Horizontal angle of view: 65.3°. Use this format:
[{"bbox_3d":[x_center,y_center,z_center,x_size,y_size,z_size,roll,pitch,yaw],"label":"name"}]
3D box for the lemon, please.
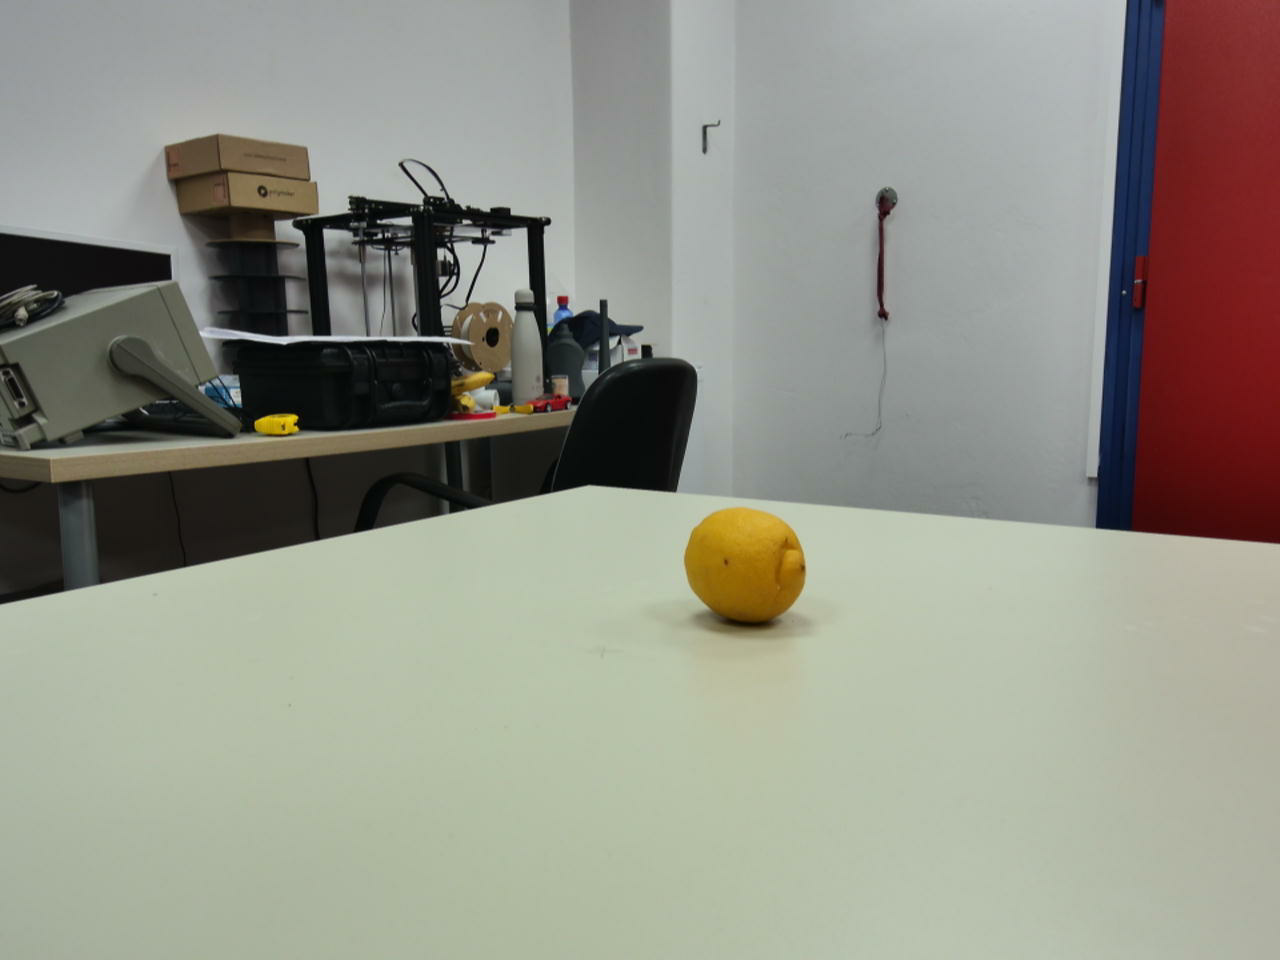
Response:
[{"bbox_3d":[0.055,0.045,0.533,0.061,0.059,0.067,-1,6,-12],"label":"lemon"}]
